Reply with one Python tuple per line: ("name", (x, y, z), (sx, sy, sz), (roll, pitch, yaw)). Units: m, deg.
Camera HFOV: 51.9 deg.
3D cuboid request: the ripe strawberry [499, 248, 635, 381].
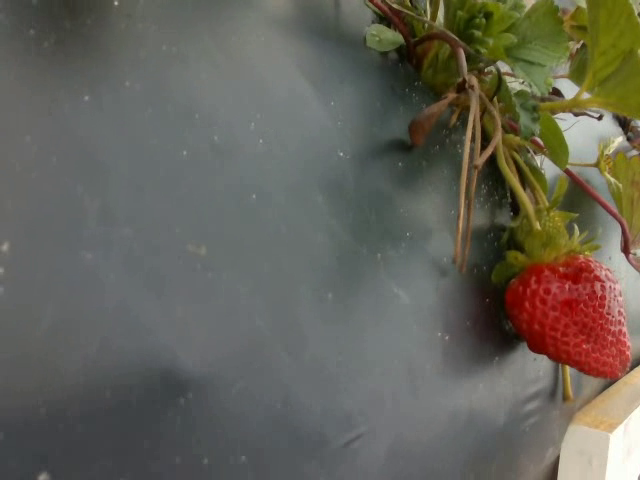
("ripe strawberry", (0.029, 0.009, 0.073), (0.014, 0.017, 0.018), (-40, -19, 15))
